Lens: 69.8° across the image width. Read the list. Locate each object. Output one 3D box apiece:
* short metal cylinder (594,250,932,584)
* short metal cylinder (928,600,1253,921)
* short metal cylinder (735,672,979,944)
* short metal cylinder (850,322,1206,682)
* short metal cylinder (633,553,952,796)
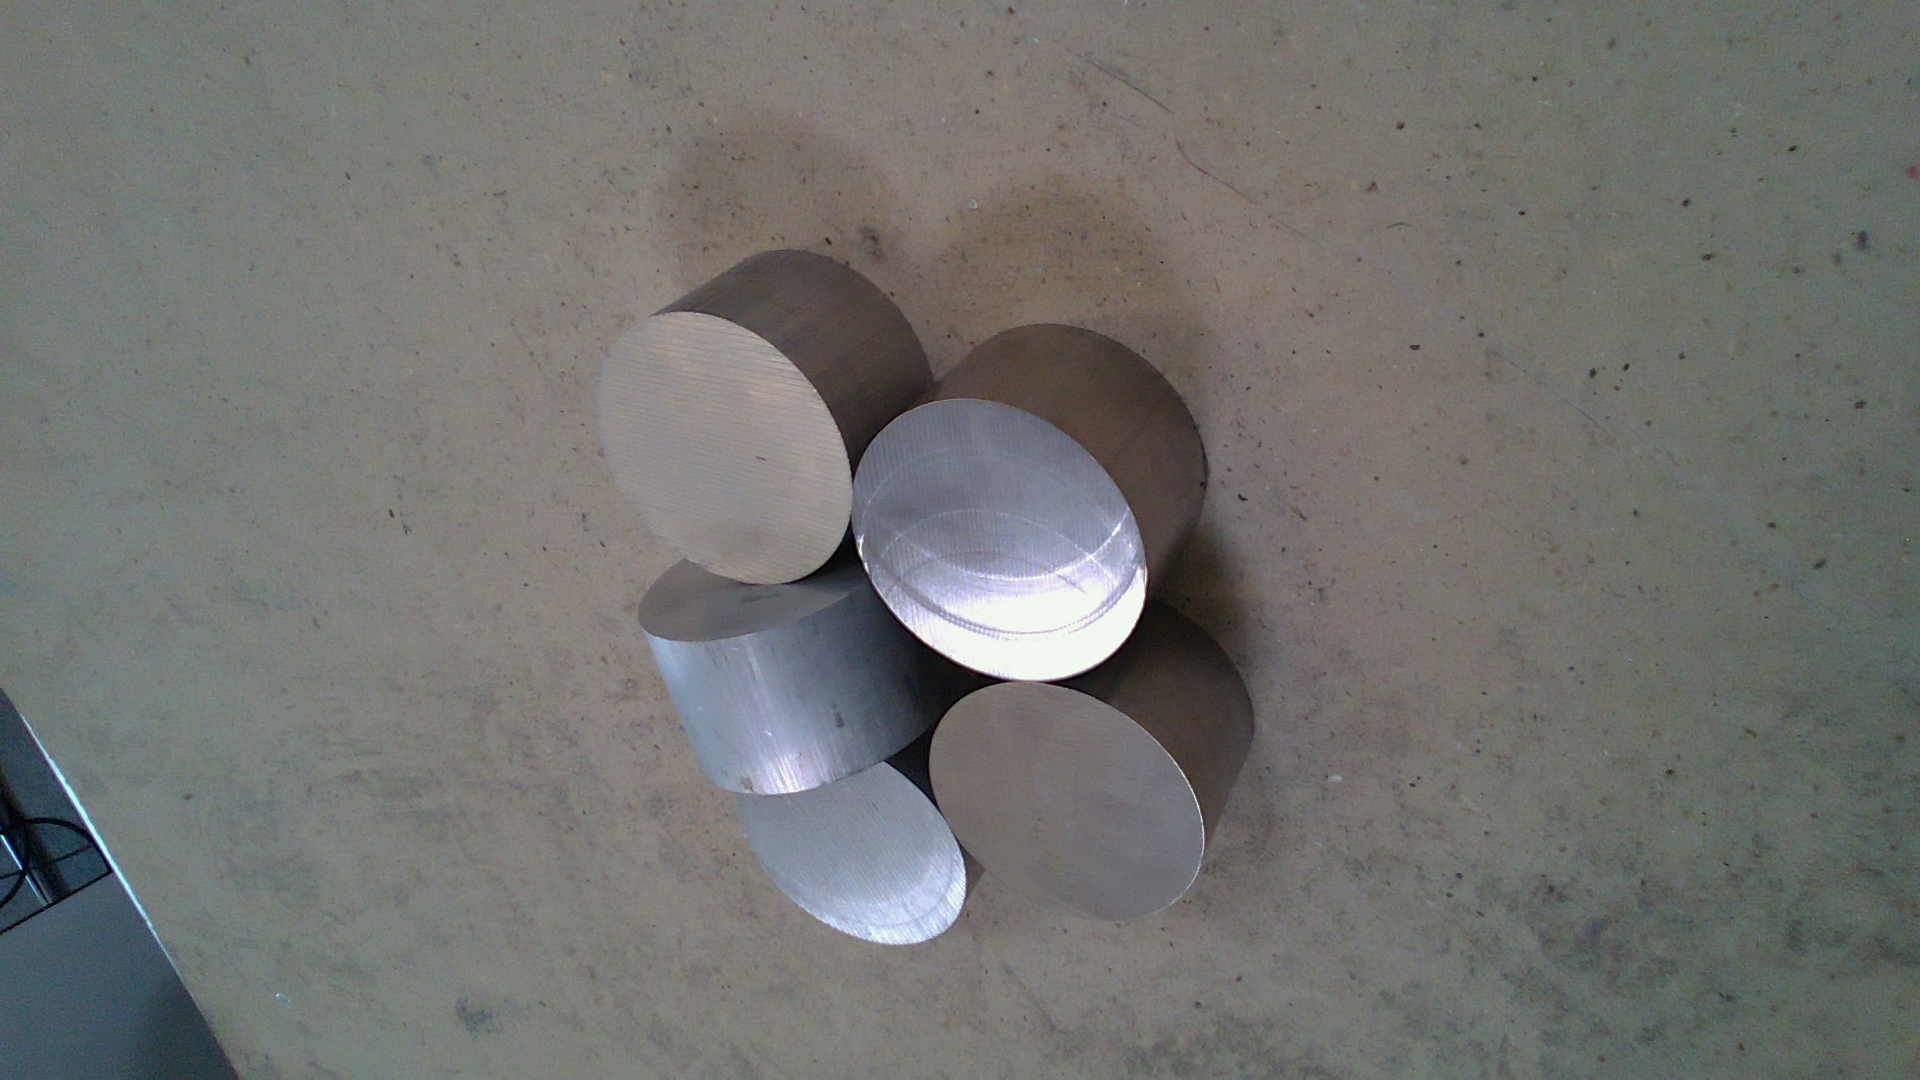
[{"bbox_3d":[-0.053,-0.035,0.384,0.080,0.050,0.080,14,125,21],"label":"short metal cylinder"},{"bbox_3d":[0.038,0.061,0.393,0.080,0.050,0.080,14,125,21],"label":"short metal cylinder"},{"bbox_3d":[-0.024,0.081,0.440,0.080,0.050,0.080,14,125,21],"label":"short metal cylinder"},{"bbox_3d":[0.018,-0.010,0.360,0.080,0.050,0.080,14,125,21],"label":"short metal cylinder"},{"bbox_3d":[-0.048,0.030,0.401,0.080,0.080,0.050,-3,117,30],"label":"short metal cylinder"}]
